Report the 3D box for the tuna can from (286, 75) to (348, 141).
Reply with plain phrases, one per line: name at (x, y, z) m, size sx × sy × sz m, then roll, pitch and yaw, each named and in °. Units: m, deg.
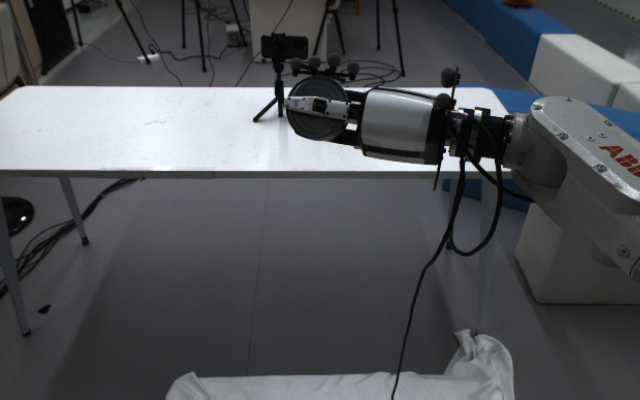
tuna can at (-0.001, -0.124, 0.656) m, size 0.085 × 0.085 × 0.034 m, roll 11°, pitch 2°, yaw 13°
